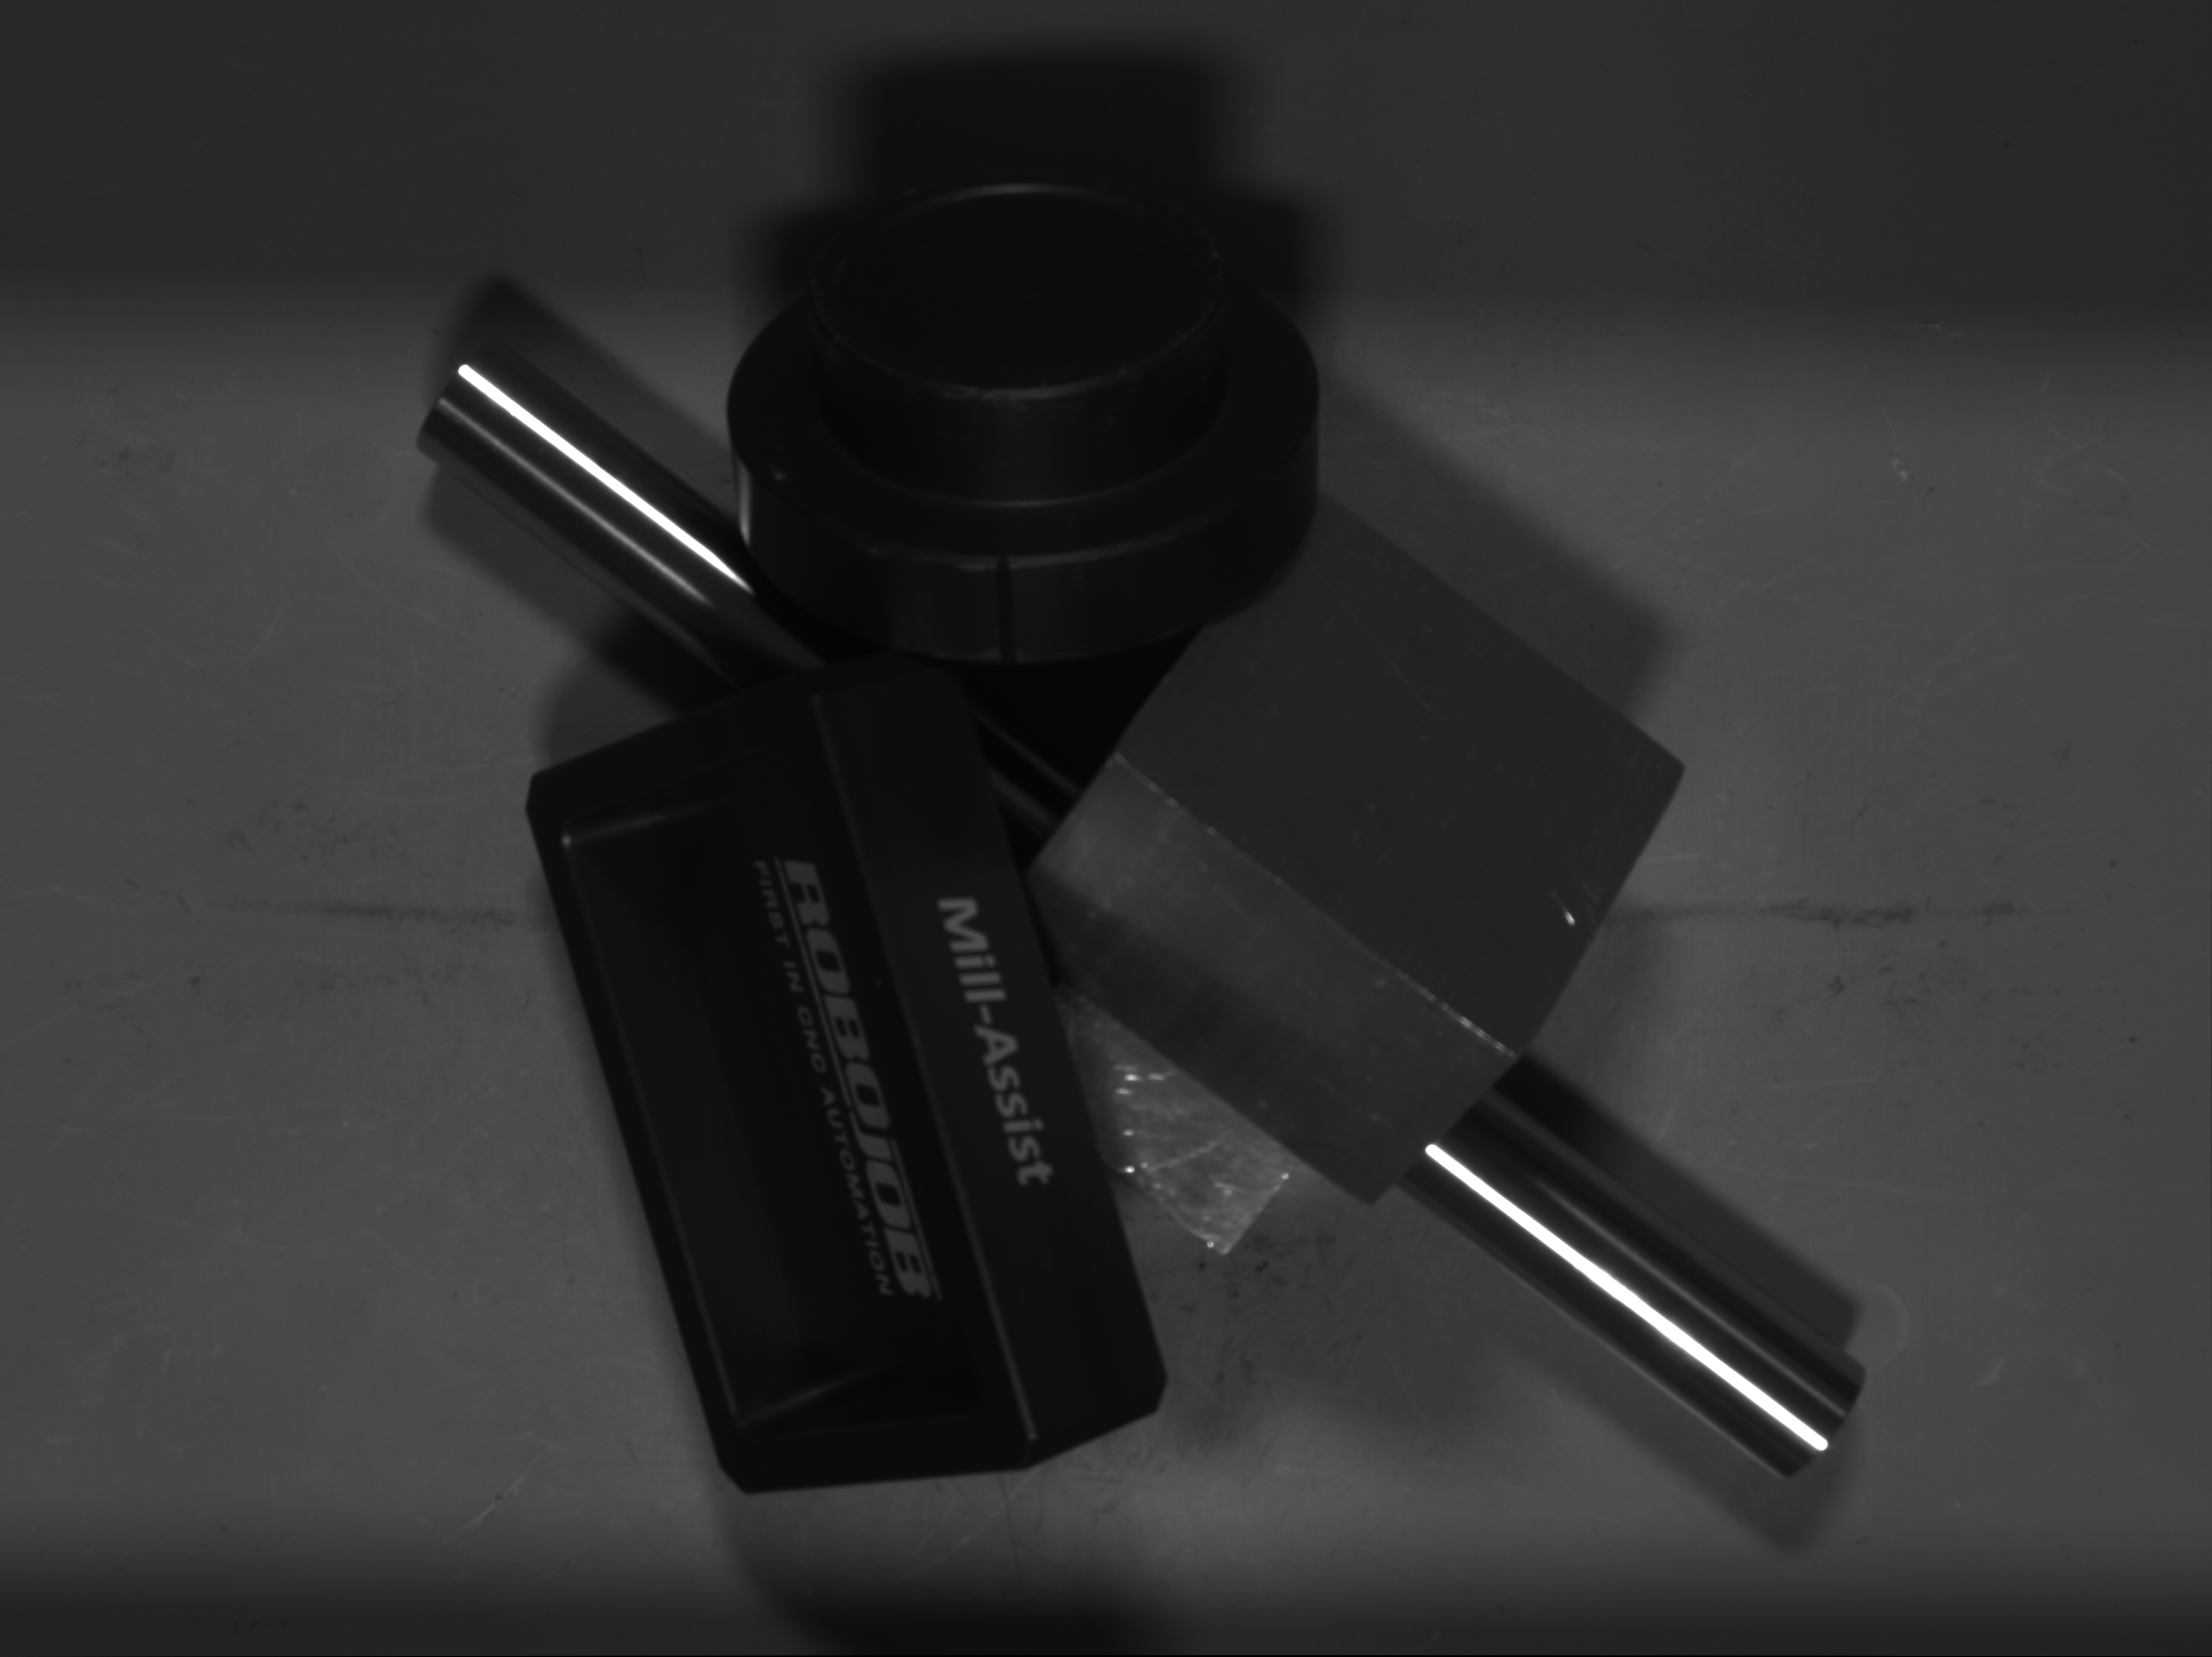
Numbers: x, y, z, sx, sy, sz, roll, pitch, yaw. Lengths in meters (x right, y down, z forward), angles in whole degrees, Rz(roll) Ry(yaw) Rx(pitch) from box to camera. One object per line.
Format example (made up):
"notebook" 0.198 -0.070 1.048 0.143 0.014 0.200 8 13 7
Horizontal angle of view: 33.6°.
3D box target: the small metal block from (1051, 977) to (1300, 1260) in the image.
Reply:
"small metal block" 0.008 0.046 0.631 0.050 0.050 0.025 38 90 0

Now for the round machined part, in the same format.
"round machined part" -0.014 -0.073 0.606 0.098 0.098 0.042 -2 130 0

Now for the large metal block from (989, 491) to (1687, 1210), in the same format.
"large metal block" 0.039 0.002 0.612 0.080 0.050 0.080 37 47 0

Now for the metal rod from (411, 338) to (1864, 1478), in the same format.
"metal rod" 0.006 0.014 0.644 0.300 0.025 0.025 37 90 0

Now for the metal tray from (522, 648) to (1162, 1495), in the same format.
"metal tray" -0.046 0.043 0.613 0.030 0.090 0.130 -16 90 -41
